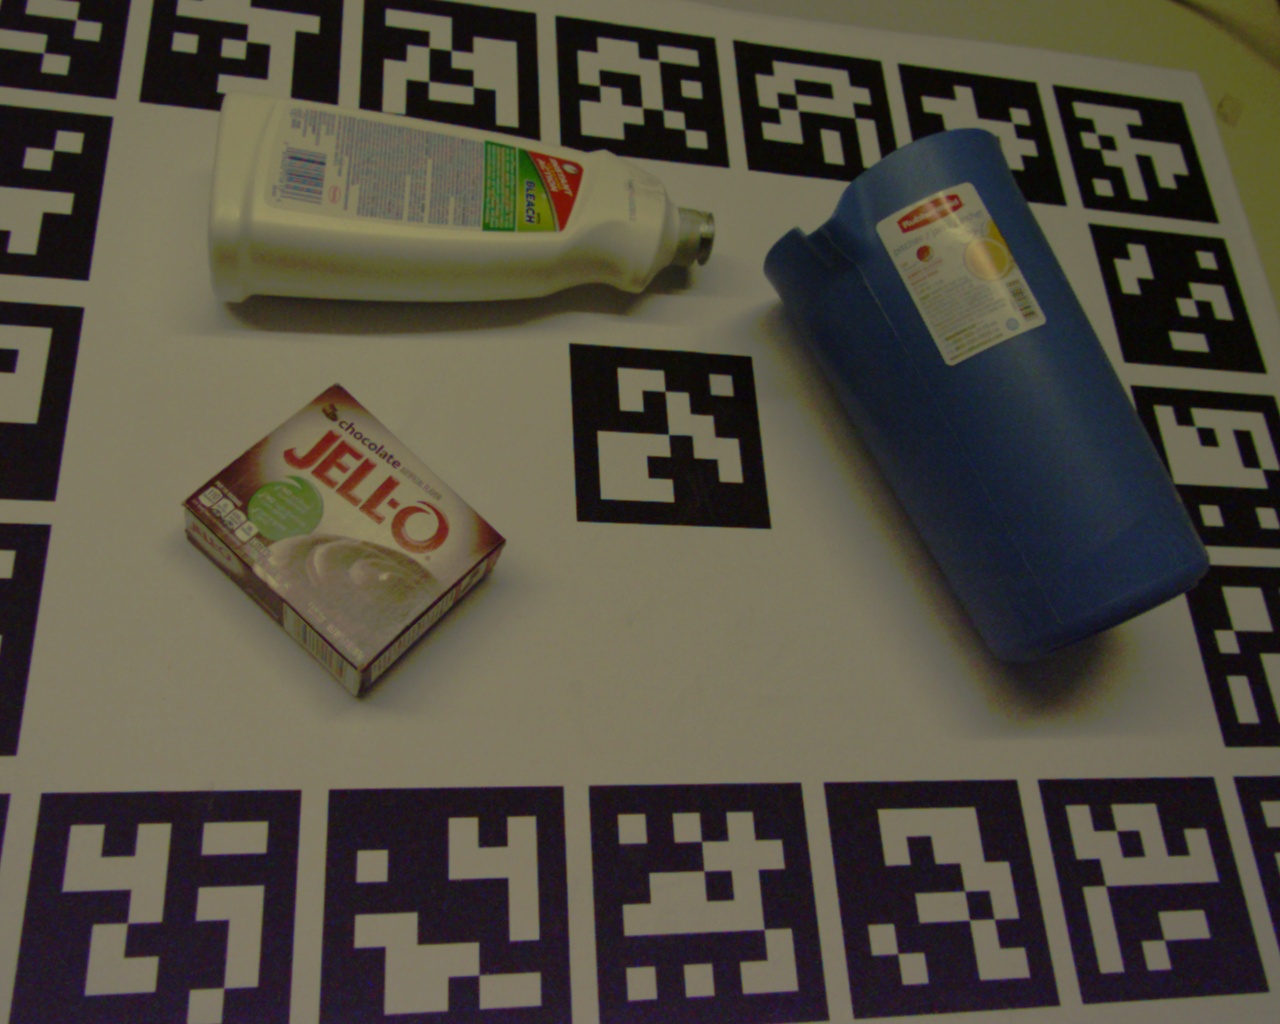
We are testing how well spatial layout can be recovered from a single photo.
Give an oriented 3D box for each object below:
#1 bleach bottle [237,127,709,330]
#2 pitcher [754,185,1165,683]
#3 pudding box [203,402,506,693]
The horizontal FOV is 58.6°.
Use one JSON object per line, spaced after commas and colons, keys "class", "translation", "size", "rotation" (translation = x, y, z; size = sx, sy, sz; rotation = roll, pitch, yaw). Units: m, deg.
{"class": "bleach bottle", "translation": [-0.084, -0.145, 0.615], "size": [0.249, 0.068, 0.103], "rotation": [0, 72, -16]}
{"class": "pitcher", "translation": [0.177, -0.040, 0.618], "size": [0.186, 0.134, 0.243], "rotation": [-11, 73, -55]}
{"class": "pudding box", "translation": [-0.135, 0.016, 0.542], "size": [0.114, 0.039, 0.089], "rotation": [45, 59, 5]}
